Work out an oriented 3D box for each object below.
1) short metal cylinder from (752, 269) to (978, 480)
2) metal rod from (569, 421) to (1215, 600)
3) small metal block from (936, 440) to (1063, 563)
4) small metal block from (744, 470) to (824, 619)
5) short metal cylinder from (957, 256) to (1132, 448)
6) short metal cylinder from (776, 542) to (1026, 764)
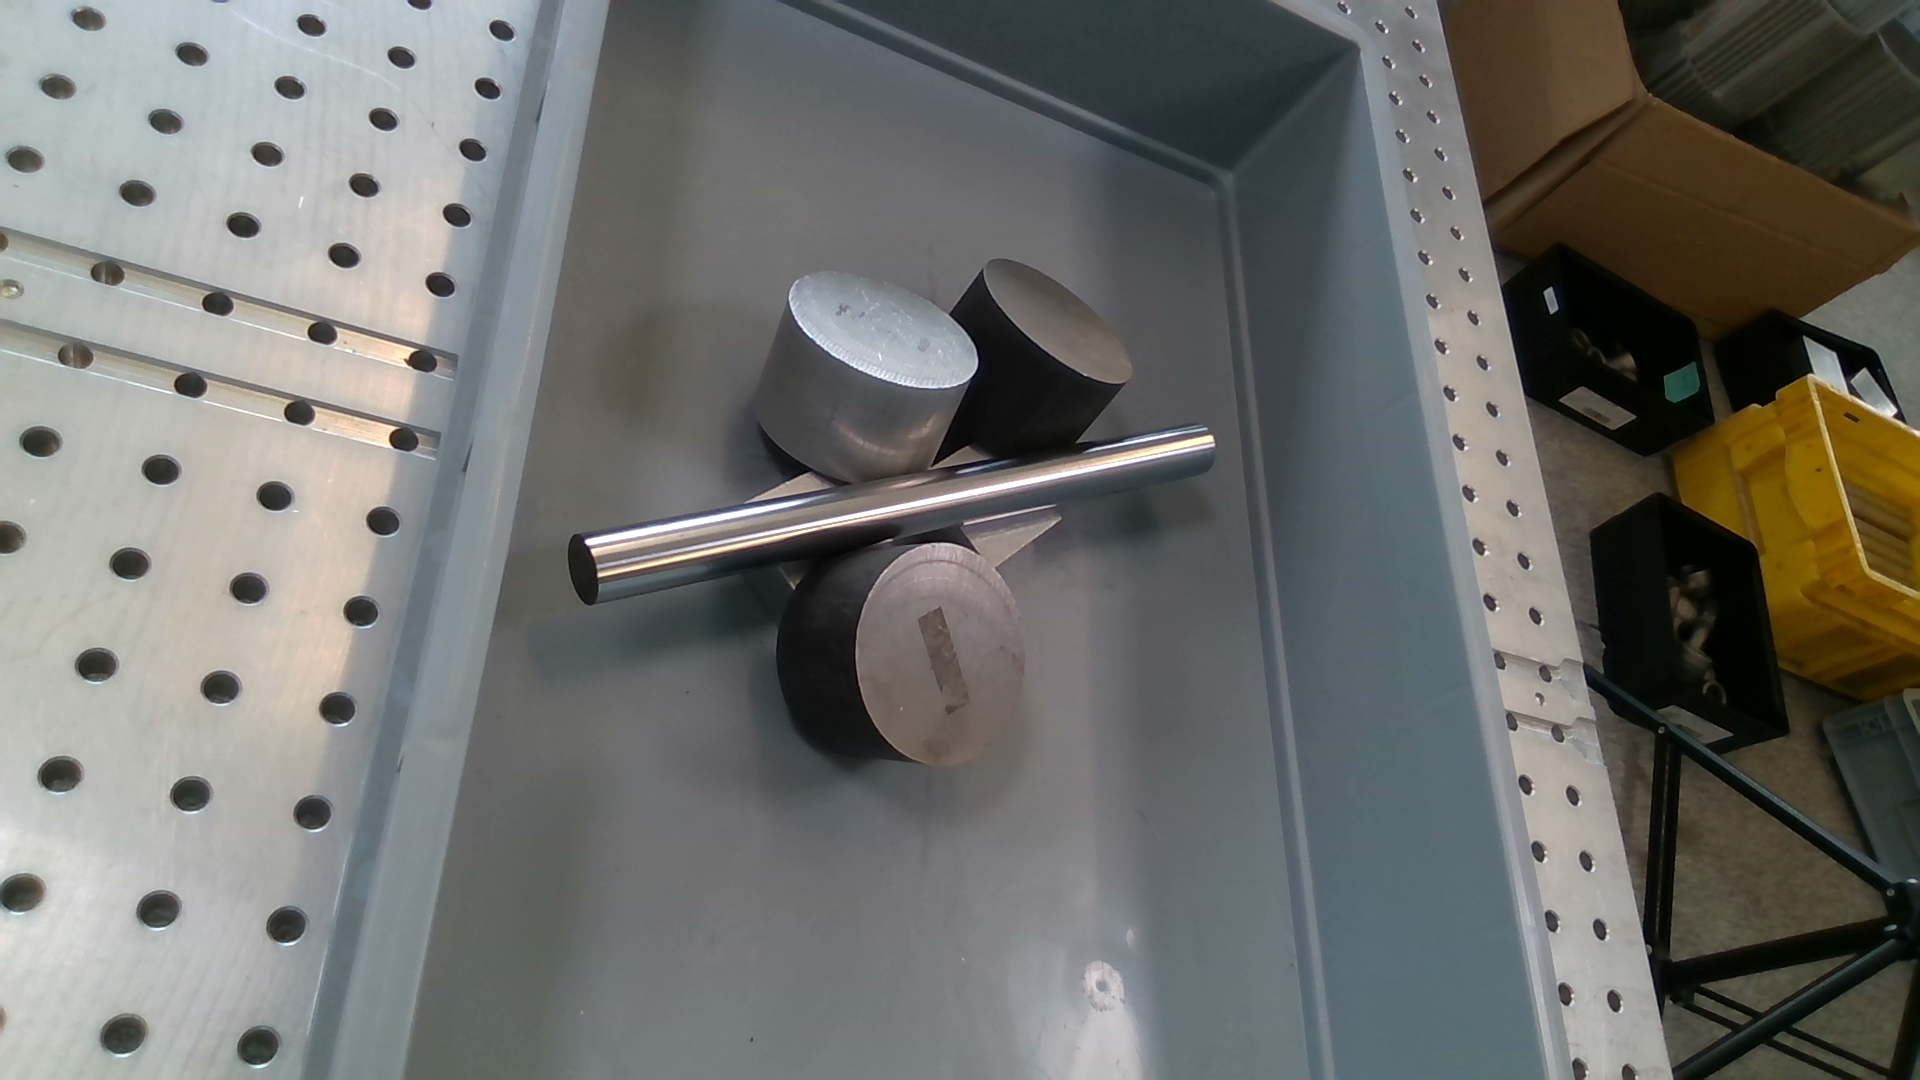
[{"bbox_3d":[-0.039,-0.067,0.563,0.080,0.050,0.080,18,35,-13],"label":"short metal cylinder"},{"bbox_3d":[-0.009,-0.018,0.556,0.300,0.025,0.025,-12,72,-36],"label":"metal rod"},{"bbox_3d":[0.008,-0.014,0.597,0.050,0.025,0.050,-35,86,-39],"label":"small metal block"},{"bbox_3d":[-0.060,0.002,0.547,0.050,0.025,0.050,-31,84,-39],"label":"small metal block"},{"bbox_3d":[0.029,-0.080,0.612,0.080,0.050,0.080,29,31,-19],"label":"short metal cylinder"},{"bbox_3d":[-0.022,0.042,0.516,0.080,0.050,0.080,4,85,-41],"label":"short metal cylinder"}]
